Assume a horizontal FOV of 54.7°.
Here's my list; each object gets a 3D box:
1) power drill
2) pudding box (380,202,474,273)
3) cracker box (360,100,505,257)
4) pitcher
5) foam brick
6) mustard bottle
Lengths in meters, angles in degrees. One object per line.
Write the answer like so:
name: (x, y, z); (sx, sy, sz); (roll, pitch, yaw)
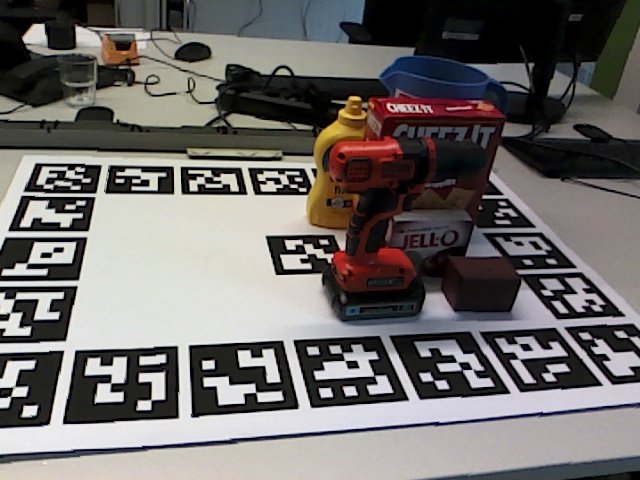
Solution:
power drill: (0.096, -0.028, 0.717); (0.184, 0.187, 0.057); (0, 29, -13)
pudding box: (0.137, -0.003, 0.817); (0.113, 0.090, 0.039); (-2, 31, -9)
cracker box: (0.142, -0.075, 0.831); (0.164, 0.213, 0.072); (-3, 31, -12)
pitcher: (0.170, -0.134, 0.922); (0.188, 0.242, 0.134); (2, 32, -5)
foam brick: (0.202, 0.059, 0.792); (0.078, 0.051, 0.053); (1, 34, -10)
mustard bottle: (0.039, -0.124, 0.901); (0.096, 0.191, 0.058); (7, 33, -1)
